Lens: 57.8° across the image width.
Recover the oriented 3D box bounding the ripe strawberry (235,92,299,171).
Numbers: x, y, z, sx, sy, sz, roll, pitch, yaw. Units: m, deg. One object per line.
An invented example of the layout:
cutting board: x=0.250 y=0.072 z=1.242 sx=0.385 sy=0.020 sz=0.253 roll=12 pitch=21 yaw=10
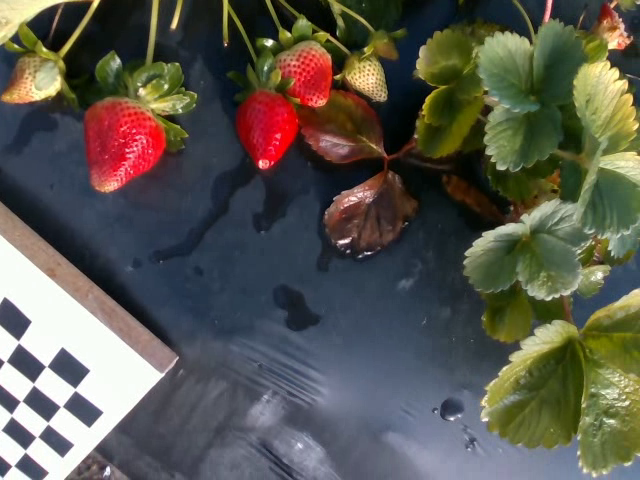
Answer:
ripe strawberry: x=-0.035 y=-0.064 z=0.352 sx=0.044 sy=0.055 sz=0.041 roll=-16 pitch=-34 yaw=26

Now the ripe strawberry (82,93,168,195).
ripe strawberry: x=-0.120 y=-0.056 z=0.340 sx=0.050 sy=0.065 sz=0.050 roll=8 pitch=-29 yaw=18
